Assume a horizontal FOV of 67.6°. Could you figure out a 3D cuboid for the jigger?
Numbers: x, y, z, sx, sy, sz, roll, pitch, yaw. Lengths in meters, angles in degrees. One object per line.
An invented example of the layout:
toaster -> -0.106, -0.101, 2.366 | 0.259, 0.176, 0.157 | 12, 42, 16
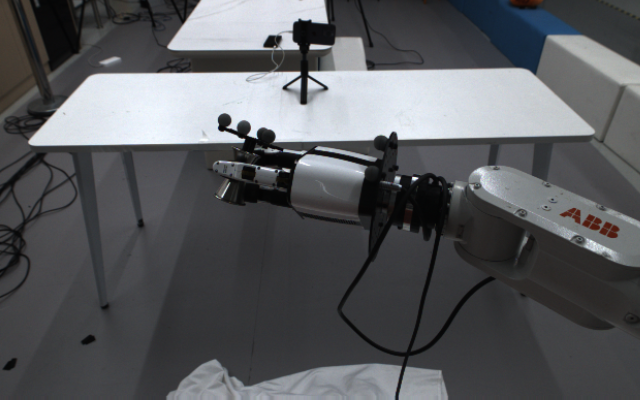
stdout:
jigger -> -0.107, -0.032, 0.623 | 0.043, 0.071, 0.043 | 22, 6, -2
